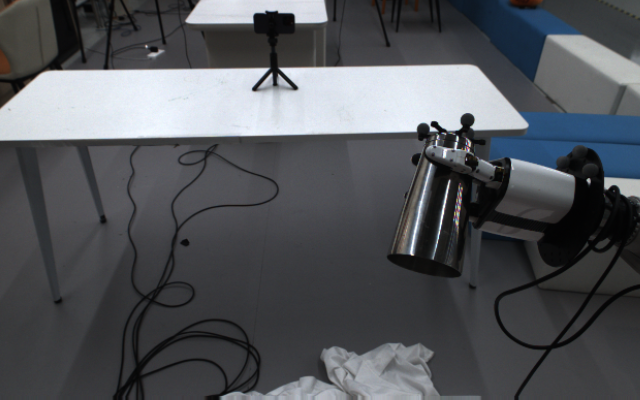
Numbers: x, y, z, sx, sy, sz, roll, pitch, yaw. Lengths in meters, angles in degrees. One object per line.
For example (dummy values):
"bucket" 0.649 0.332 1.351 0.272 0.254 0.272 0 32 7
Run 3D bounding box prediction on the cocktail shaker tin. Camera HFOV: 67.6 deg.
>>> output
"cocktail shaker tin" 0.152 0.000 0.621 0.093 0.093 0.170 12 72 14
